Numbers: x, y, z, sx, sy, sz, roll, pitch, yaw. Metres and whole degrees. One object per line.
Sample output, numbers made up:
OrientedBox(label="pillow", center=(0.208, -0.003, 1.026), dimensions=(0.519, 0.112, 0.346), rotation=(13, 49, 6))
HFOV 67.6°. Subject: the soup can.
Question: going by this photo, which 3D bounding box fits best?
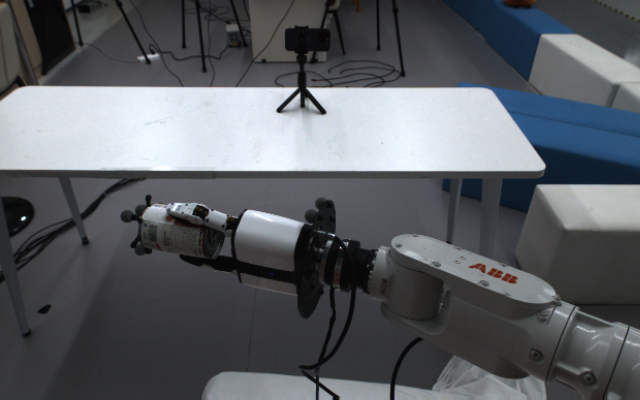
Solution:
OrientedBox(label="soup can", center=(-0.192, 0.046, 0.686), dimensions=(0.101, 0.067, 0.067), rotation=(8, 35, 10))
